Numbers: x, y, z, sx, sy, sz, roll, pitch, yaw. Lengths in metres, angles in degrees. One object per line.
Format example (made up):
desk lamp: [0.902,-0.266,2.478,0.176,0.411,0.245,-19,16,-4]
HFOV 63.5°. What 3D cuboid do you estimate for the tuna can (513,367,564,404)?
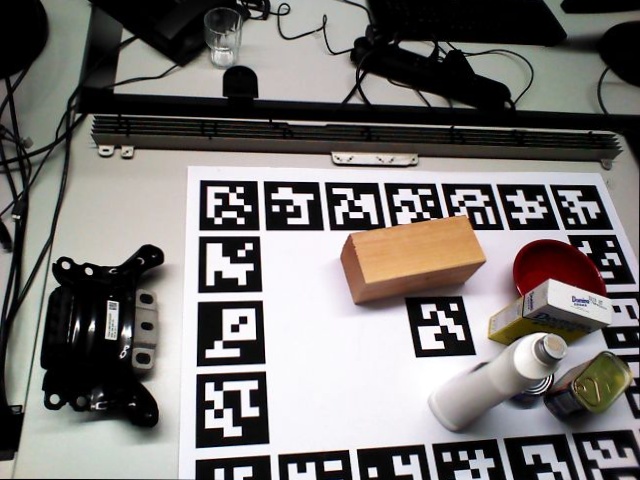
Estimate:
tuna can: [0.319,0.204,0.783,0.086,0.034,0.085,3,64,-6]

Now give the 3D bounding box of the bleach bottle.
bleach bottle: [0.236,0.175,0.666,0.102,0.252,0.068,-25,66,-20]

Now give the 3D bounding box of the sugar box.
sugar box: [0.346,0.116,0.754,0.093,0.177,0.045,17,62,5]

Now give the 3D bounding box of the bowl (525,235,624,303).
bowl: [0.409,0.074,0.859,0.162,0.055,0.161,1,61,-3]

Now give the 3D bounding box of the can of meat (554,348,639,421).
can of meat: [0.408,0.217,0.768,0.101,0.084,0.058,-29,66,-23]

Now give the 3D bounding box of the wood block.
wood block: [0.151,0.029,0.831,0.206,0.090,0.090,-9,67,-14]
